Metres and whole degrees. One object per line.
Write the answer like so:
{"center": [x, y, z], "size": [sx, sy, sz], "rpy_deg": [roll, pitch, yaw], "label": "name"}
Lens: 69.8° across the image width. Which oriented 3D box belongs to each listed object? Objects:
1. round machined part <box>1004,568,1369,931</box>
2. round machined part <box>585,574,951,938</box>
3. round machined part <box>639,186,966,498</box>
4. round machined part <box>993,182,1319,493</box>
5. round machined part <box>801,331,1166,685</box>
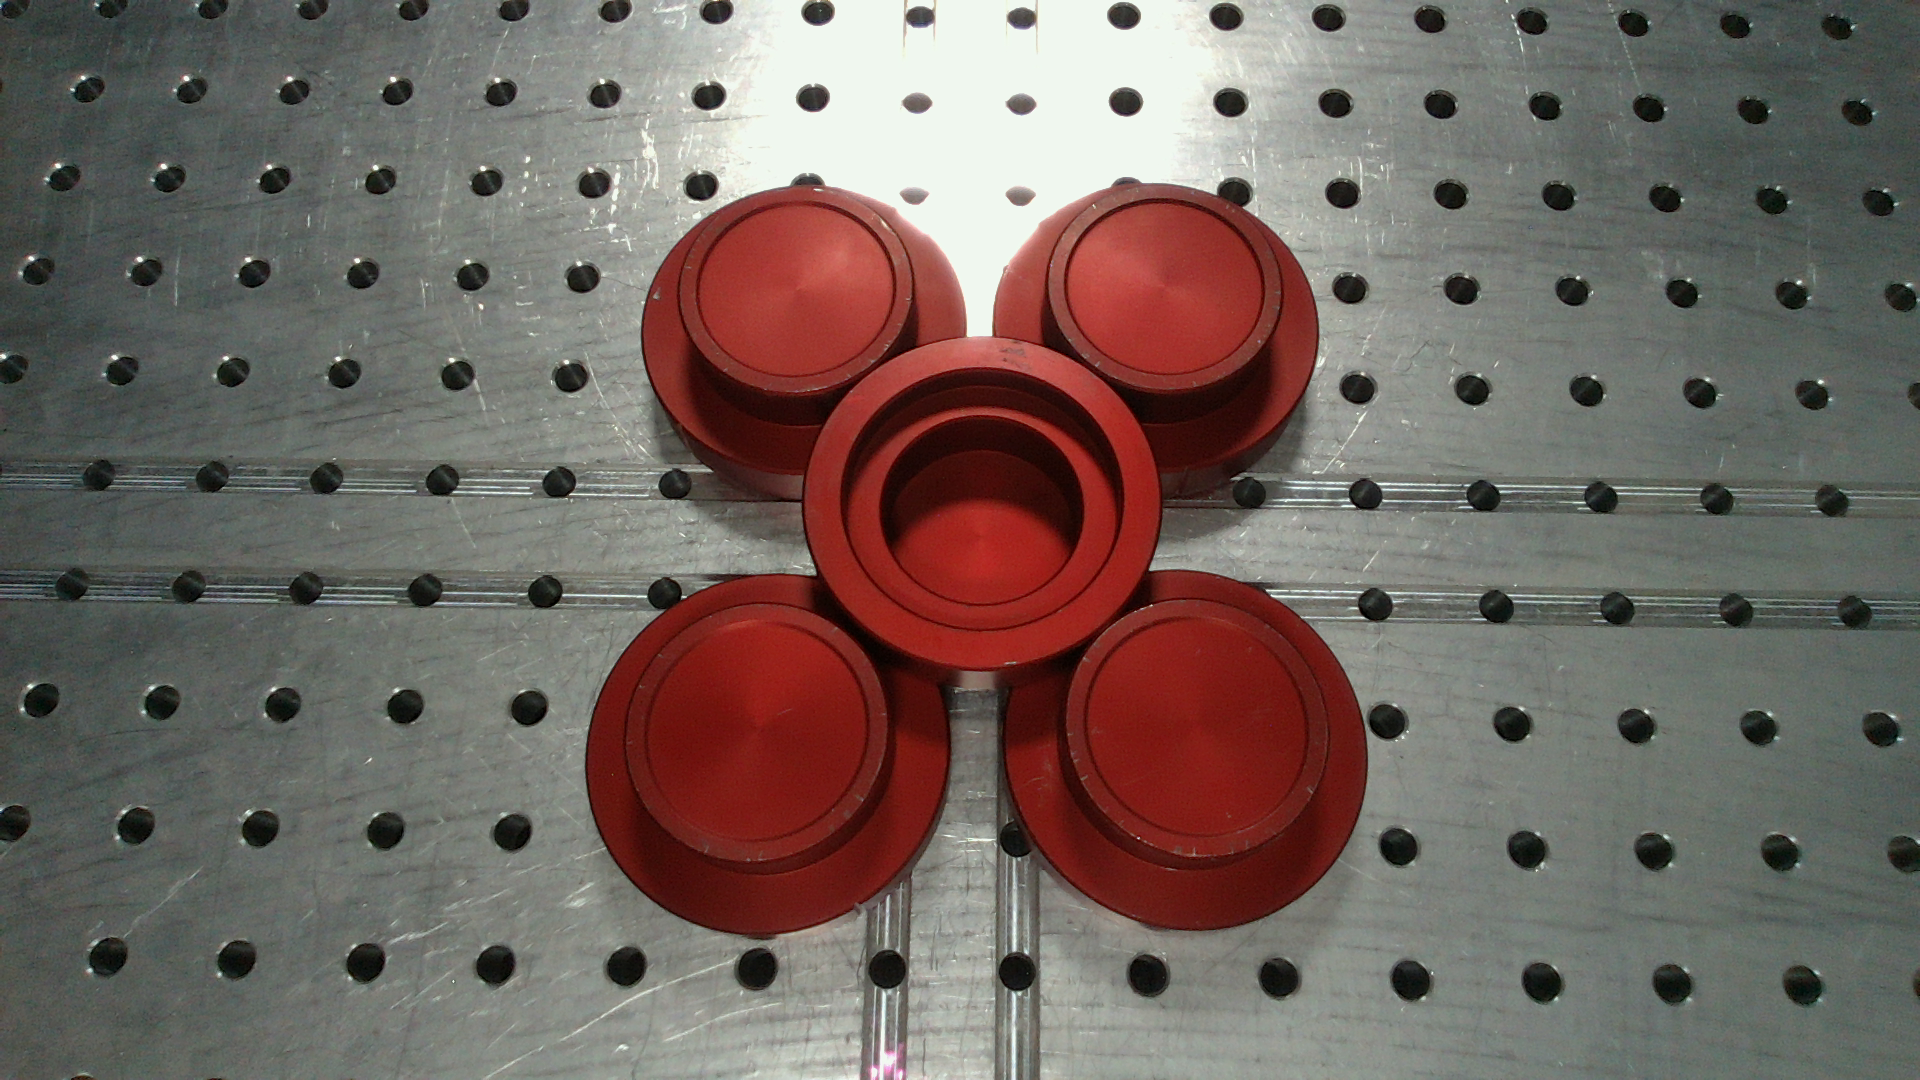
{"center": [0.061, 0.054, 0.368], "size": [0.098, 0.042, 0.098], "rpy_deg": [0, 70, 0], "label": "round machined part"}
{"center": [-0.051, 0.055, 0.368], "size": [0.098, 0.042, 0.098], "rpy_deg": [0, 70, 0], "label": "round machined part"}
{"center": [-0.047, -0.065, 0.411], "size": [0.098, 0.042, 0.098], "rpy_deg": [0, 70, 0], "label": "round machined part"}
{"center": [0.059, -0.066, 0.412], "size": [0.098, 0.042, 0.098], "rpy_deg": [0, 70, 0], "label": "round machined part"}
{"center": [0.006, -0.006, 0.388], "size": [0.098, 0.042, 0.098], "rpy_deg": [0, 70, 0], "label": "round machined part"}
